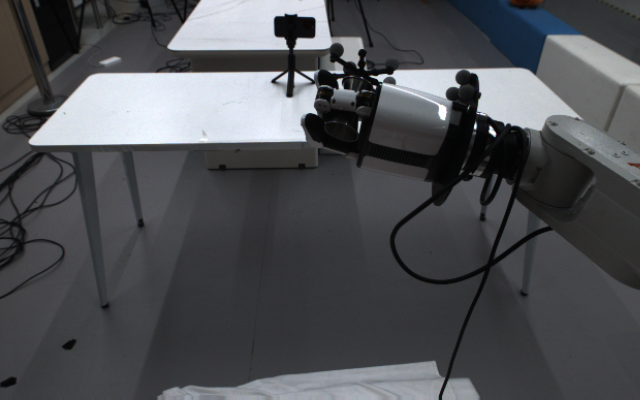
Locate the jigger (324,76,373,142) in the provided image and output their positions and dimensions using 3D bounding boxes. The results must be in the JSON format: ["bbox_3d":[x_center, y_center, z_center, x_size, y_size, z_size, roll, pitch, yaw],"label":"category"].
[{"bbox_3d":[0.039,-0.110,0.586,0.043,0.043,0.071,12,71,14],"label":"jigger"}]
